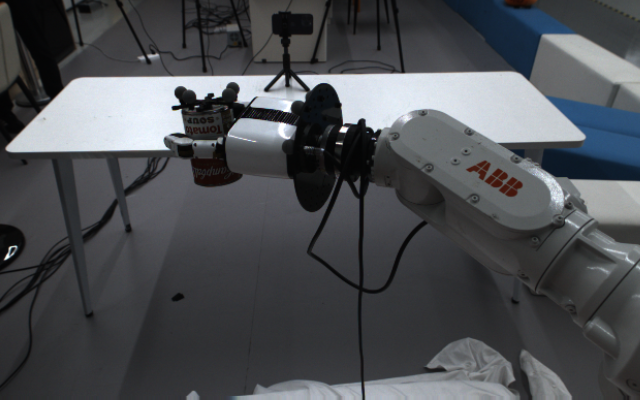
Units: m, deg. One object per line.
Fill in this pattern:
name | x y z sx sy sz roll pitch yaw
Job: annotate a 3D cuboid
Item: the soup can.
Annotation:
soup can | -0.143 -0.077 0.650 0.067 0.101 0.067 -4 26 2
